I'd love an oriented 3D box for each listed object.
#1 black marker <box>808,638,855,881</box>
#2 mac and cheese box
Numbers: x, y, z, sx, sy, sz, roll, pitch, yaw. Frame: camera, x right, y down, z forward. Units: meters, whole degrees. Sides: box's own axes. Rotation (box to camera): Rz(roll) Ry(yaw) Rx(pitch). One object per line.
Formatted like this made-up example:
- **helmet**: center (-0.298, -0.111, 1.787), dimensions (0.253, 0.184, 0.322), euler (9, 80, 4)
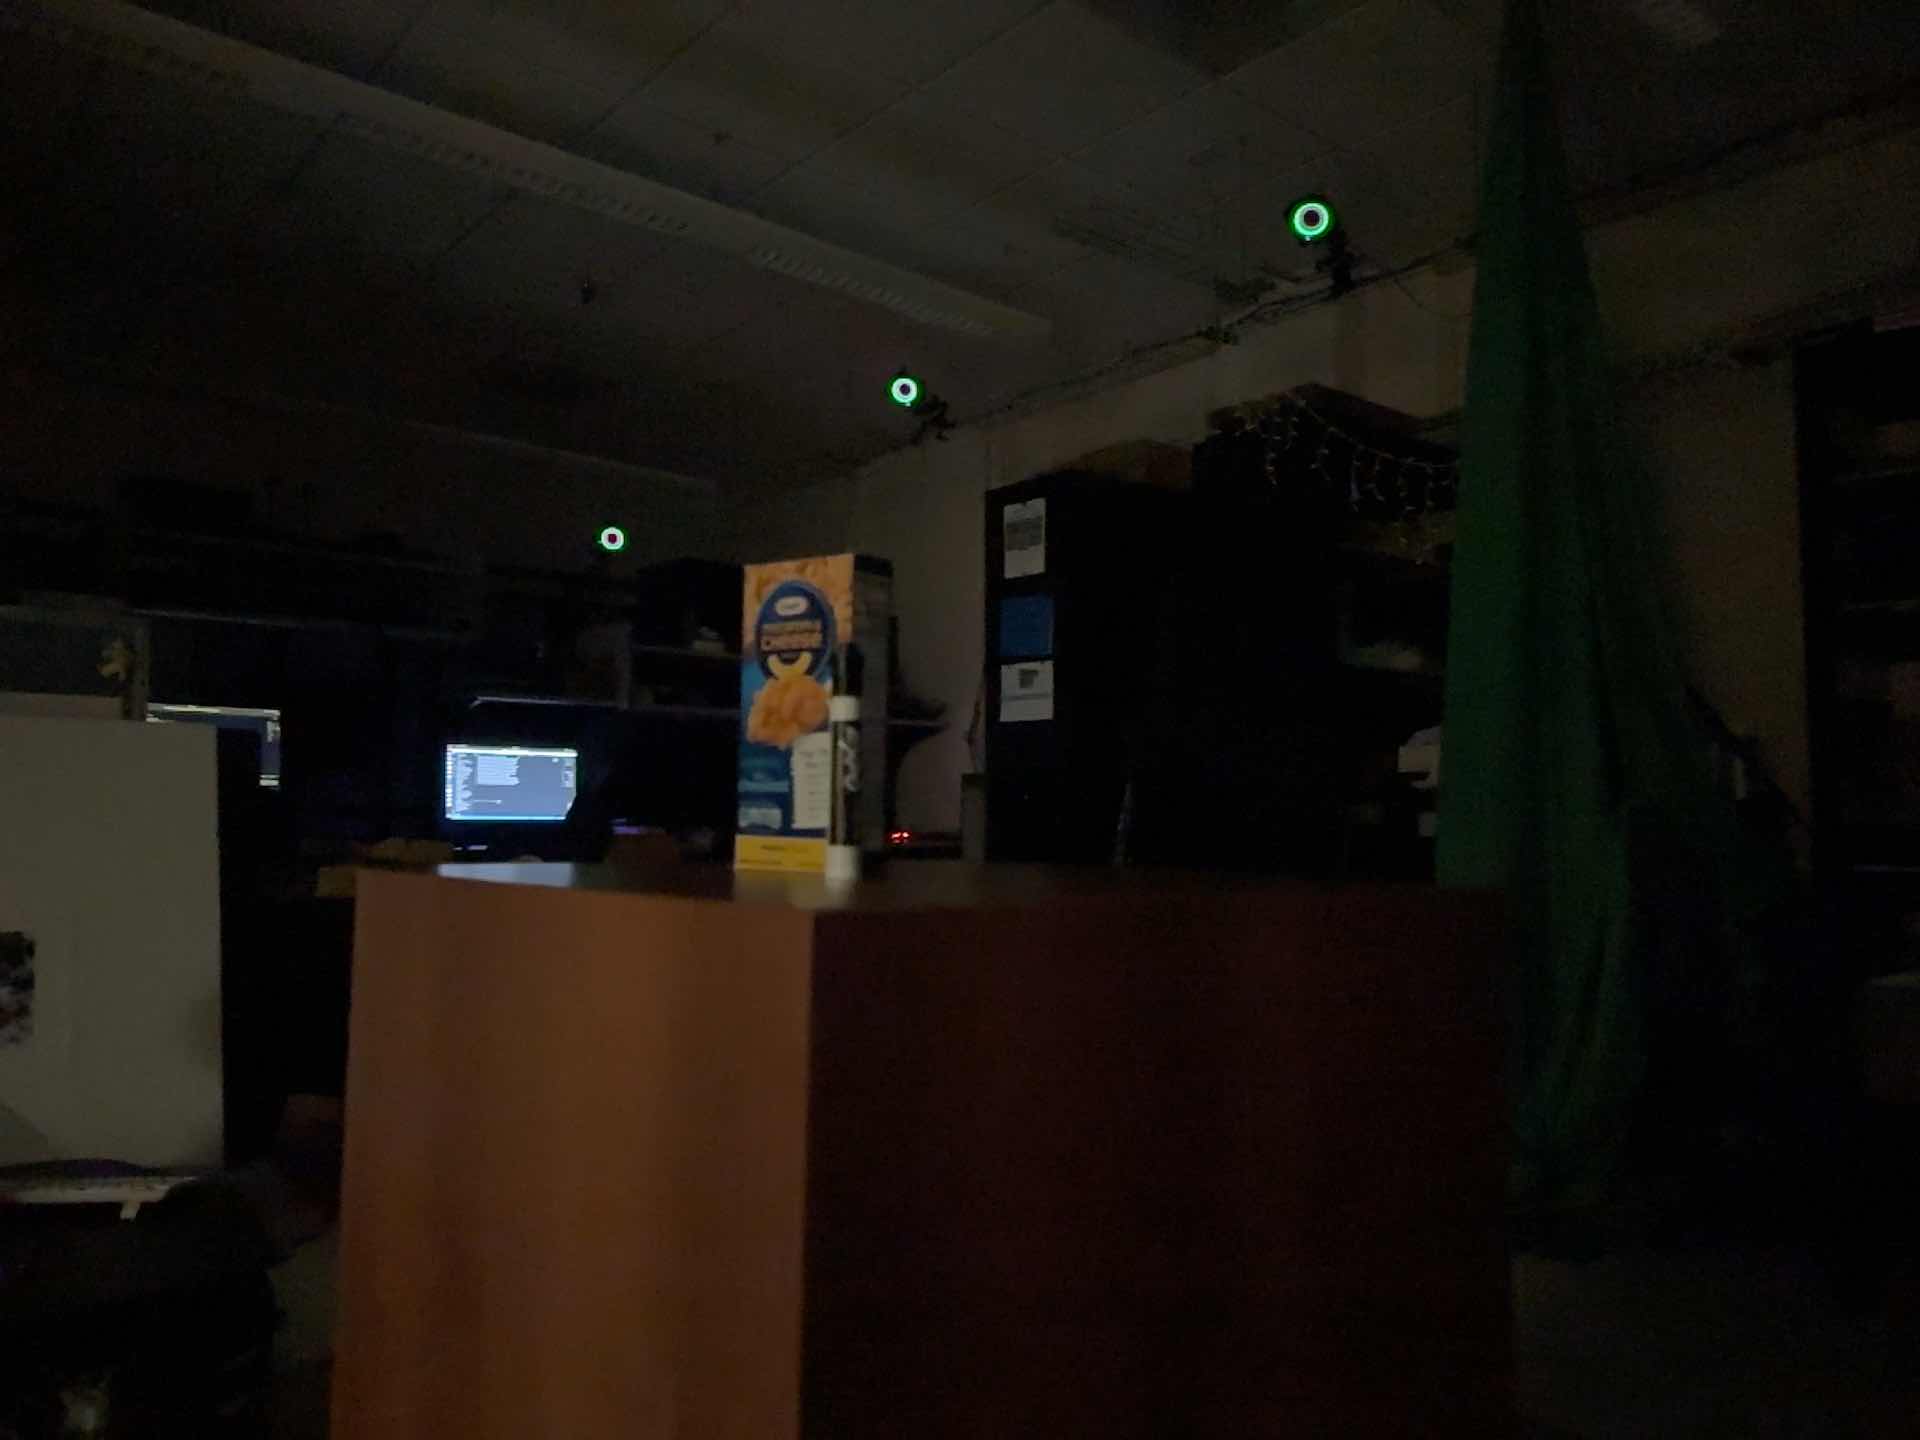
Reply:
- **black marker**: center (-0.065, 0.019, 0.676), dimensions (0.020, 0.121, 0.020), euler (2, -3, 0)
- **mac and cheese box**: center (-0.083, -0.009, 0.777), dimensions (0.088, 0.181, 0.035), euler (-1, -3, 43)
